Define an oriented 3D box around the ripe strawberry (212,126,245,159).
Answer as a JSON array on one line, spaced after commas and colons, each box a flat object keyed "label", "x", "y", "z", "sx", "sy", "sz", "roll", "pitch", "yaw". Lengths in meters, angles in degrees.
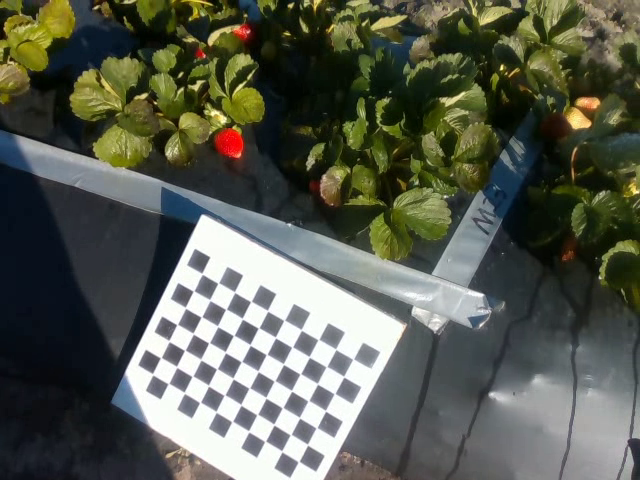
[{"label": "ripe strawberry", "x": -0.125, "y": -0.133, "z": 0.815, "sx": 0.045, "sy": 0.059, "sz": 0.042, "roll": -35, "pitch": -22, "yaw": 11}]
